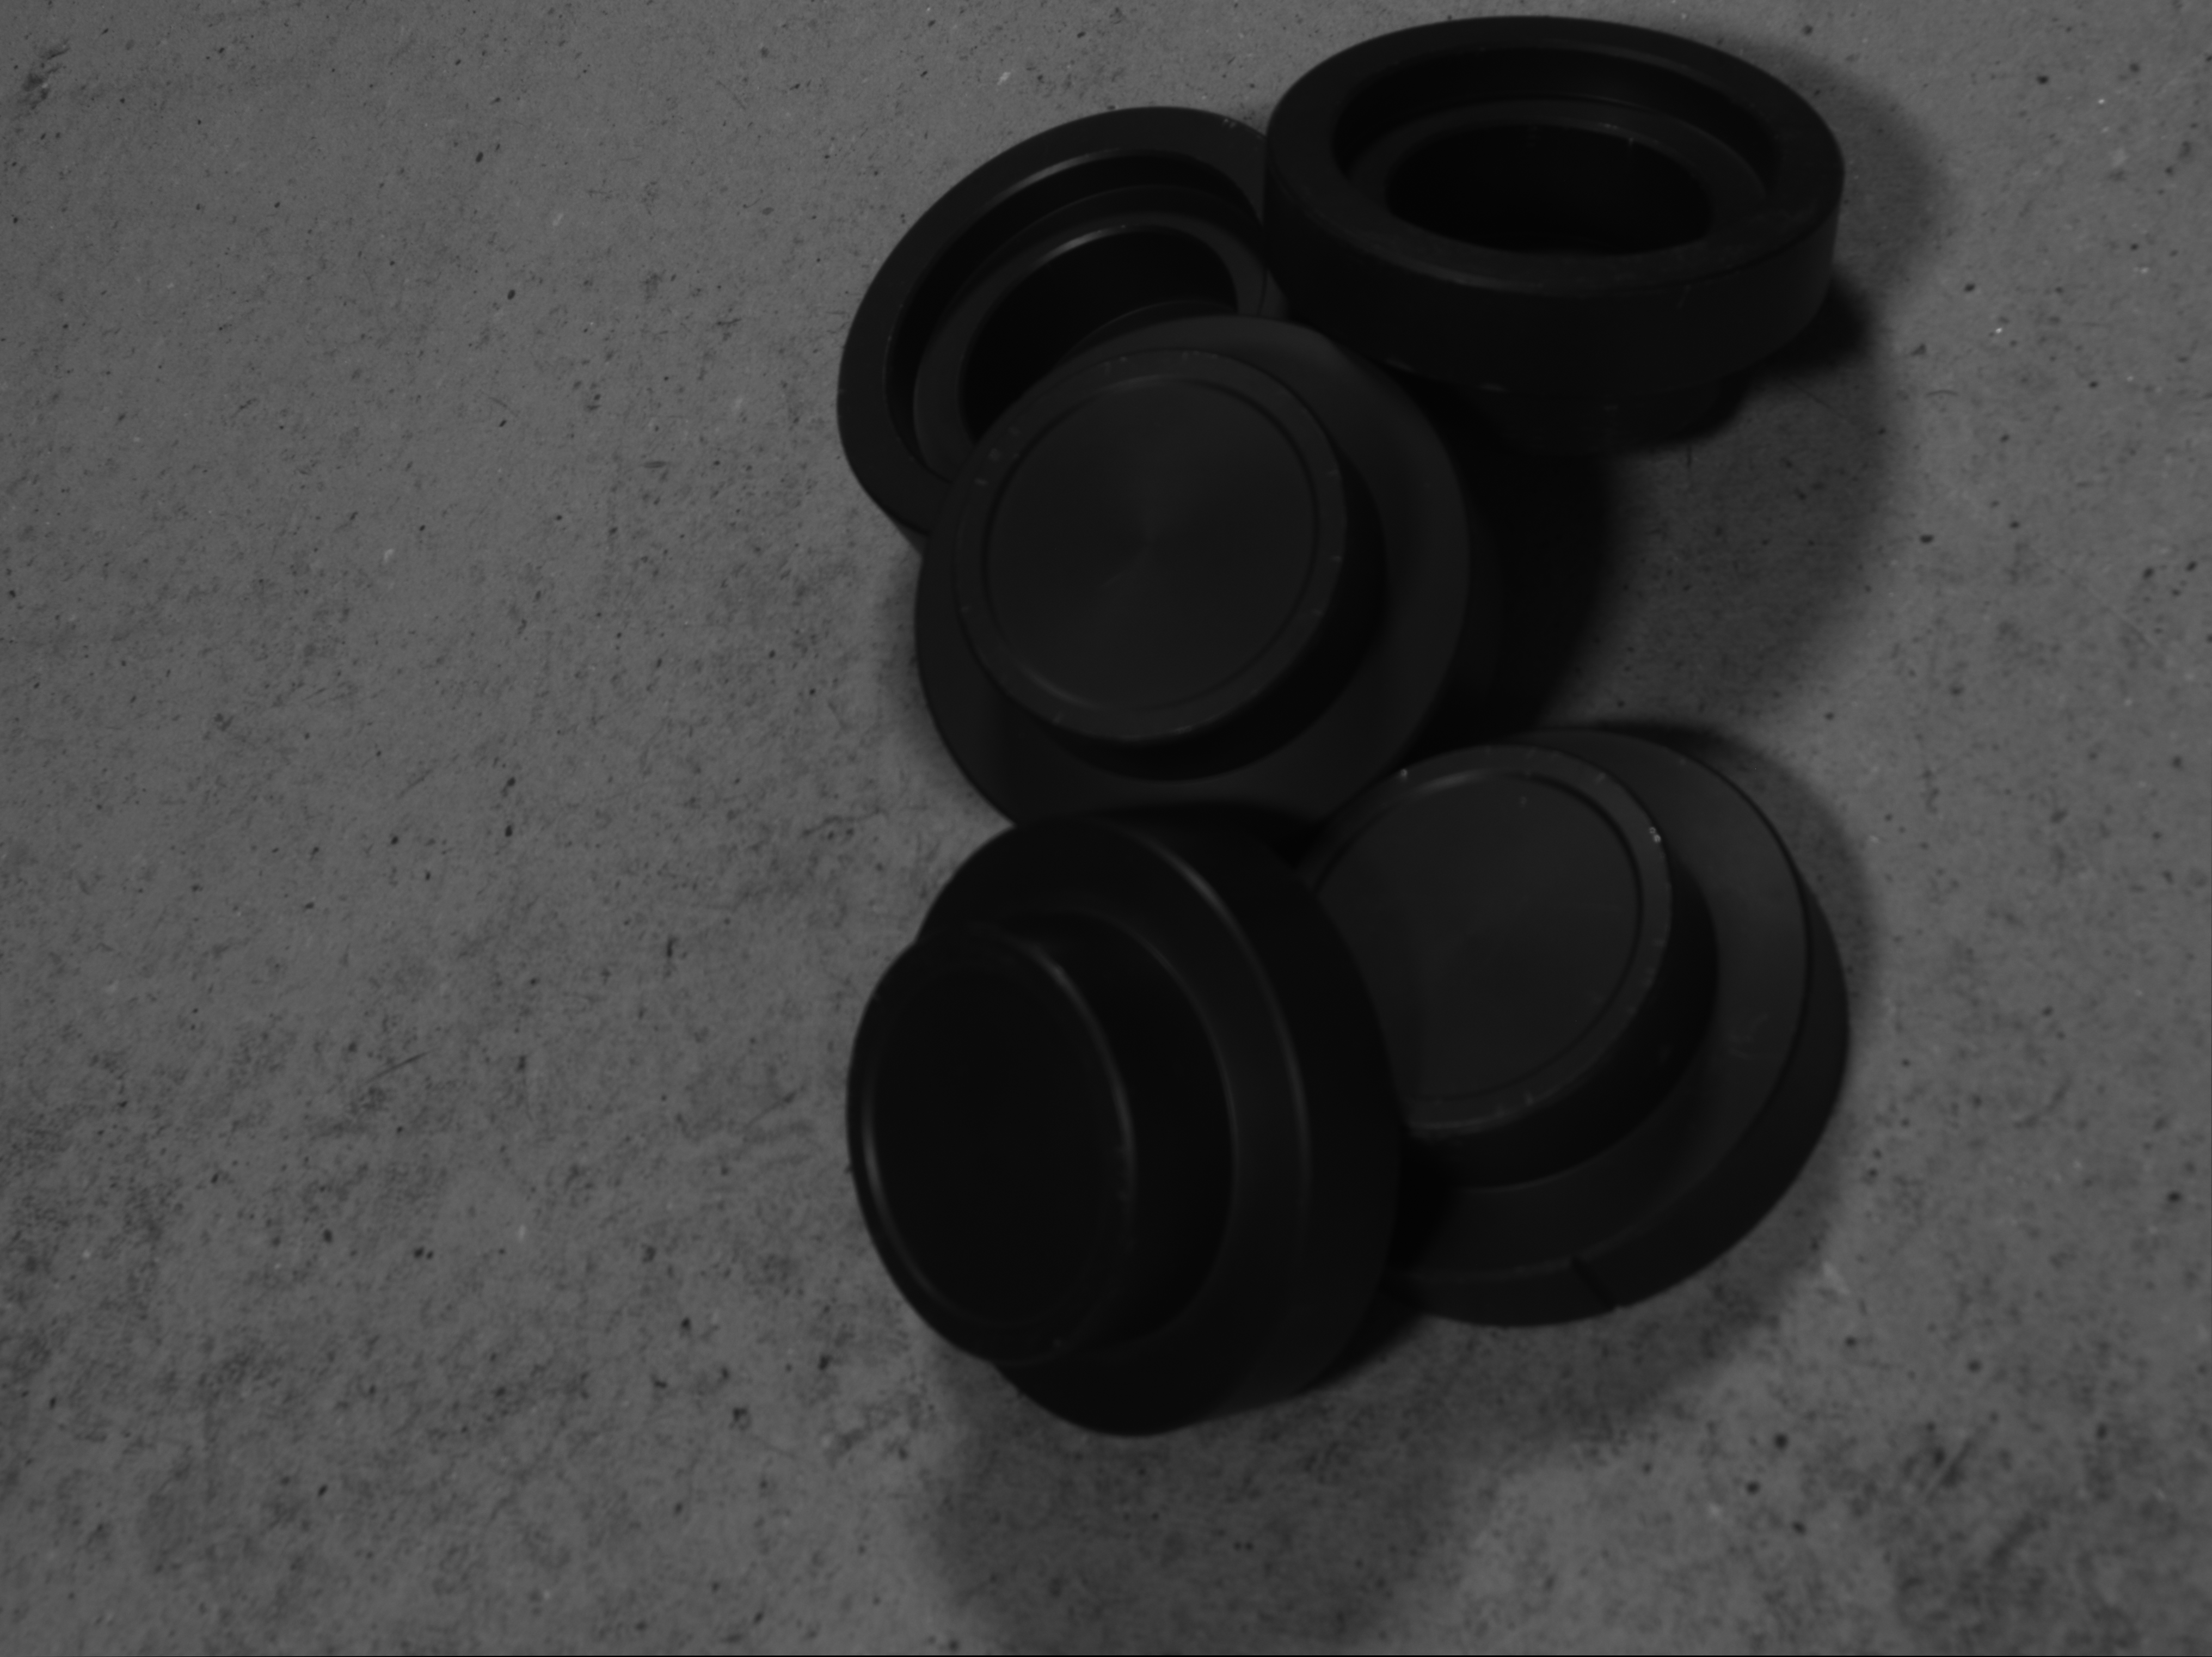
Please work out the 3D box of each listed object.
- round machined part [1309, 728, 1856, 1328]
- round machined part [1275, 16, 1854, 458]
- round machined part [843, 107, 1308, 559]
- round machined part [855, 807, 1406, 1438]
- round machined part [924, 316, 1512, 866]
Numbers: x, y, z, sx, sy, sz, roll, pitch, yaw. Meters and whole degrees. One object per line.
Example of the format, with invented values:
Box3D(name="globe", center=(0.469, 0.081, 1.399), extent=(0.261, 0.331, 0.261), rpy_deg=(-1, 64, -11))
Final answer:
Box3D(name="round machined part", center=(0.066, 0.026, 0.582), extent=(0.098, 0.042, 0.098), rpy_deg=(-13, 56, 21))
Box3D(name="round machined part", center=(0.078, -0.100, 0.635), extent=(0.098, 0.042, 0.098), rpy_deg=(0, 39, 0))
Box3D(name="round machined part", center=(0.004, -0.083, 0.683), extent=(0.098, 0.042, 0.098), rpy_deg=(-13, 56, 21))
Box3D(name="round machined part", center=(-0.002, 0.047, 0.573), extent=(0.098, 0.042, 0.098), rpy_deg=(8, 101, 47))
Box3D(name="round machined part", center=(0.015, -0.041, 0.608), extent=(0.098, 0.042, 0.098), rpy_deg=(-6, 70, 18))
